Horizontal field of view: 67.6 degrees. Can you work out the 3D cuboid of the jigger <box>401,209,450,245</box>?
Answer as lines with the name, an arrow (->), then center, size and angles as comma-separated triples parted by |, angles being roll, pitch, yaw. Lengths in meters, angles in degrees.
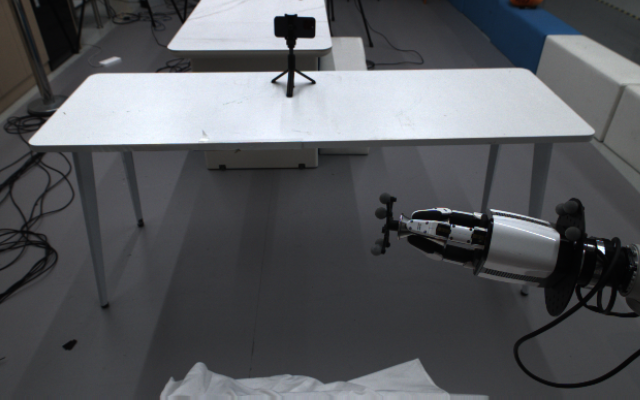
jigger -> 0.154, 0.039, 0.691 | 0.071, 0.043, 0.043 | 8, 35, 14
